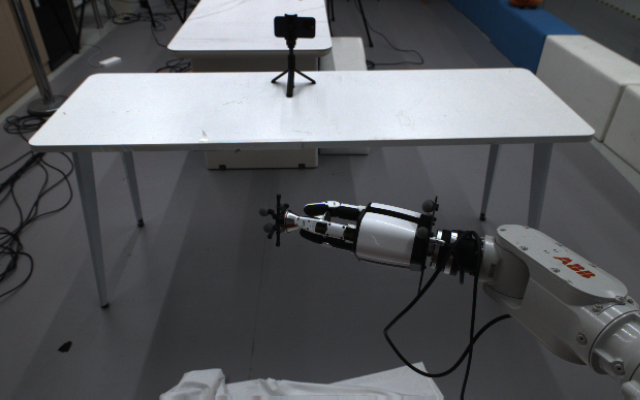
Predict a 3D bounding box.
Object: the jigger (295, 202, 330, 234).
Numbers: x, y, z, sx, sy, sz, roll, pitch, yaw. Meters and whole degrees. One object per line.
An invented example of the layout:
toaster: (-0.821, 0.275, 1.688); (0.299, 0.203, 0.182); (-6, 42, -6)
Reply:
jigger: (-0.013, 0.033, 0.795); (0.071, 0.043, 0.043); (3, 34, 17)
